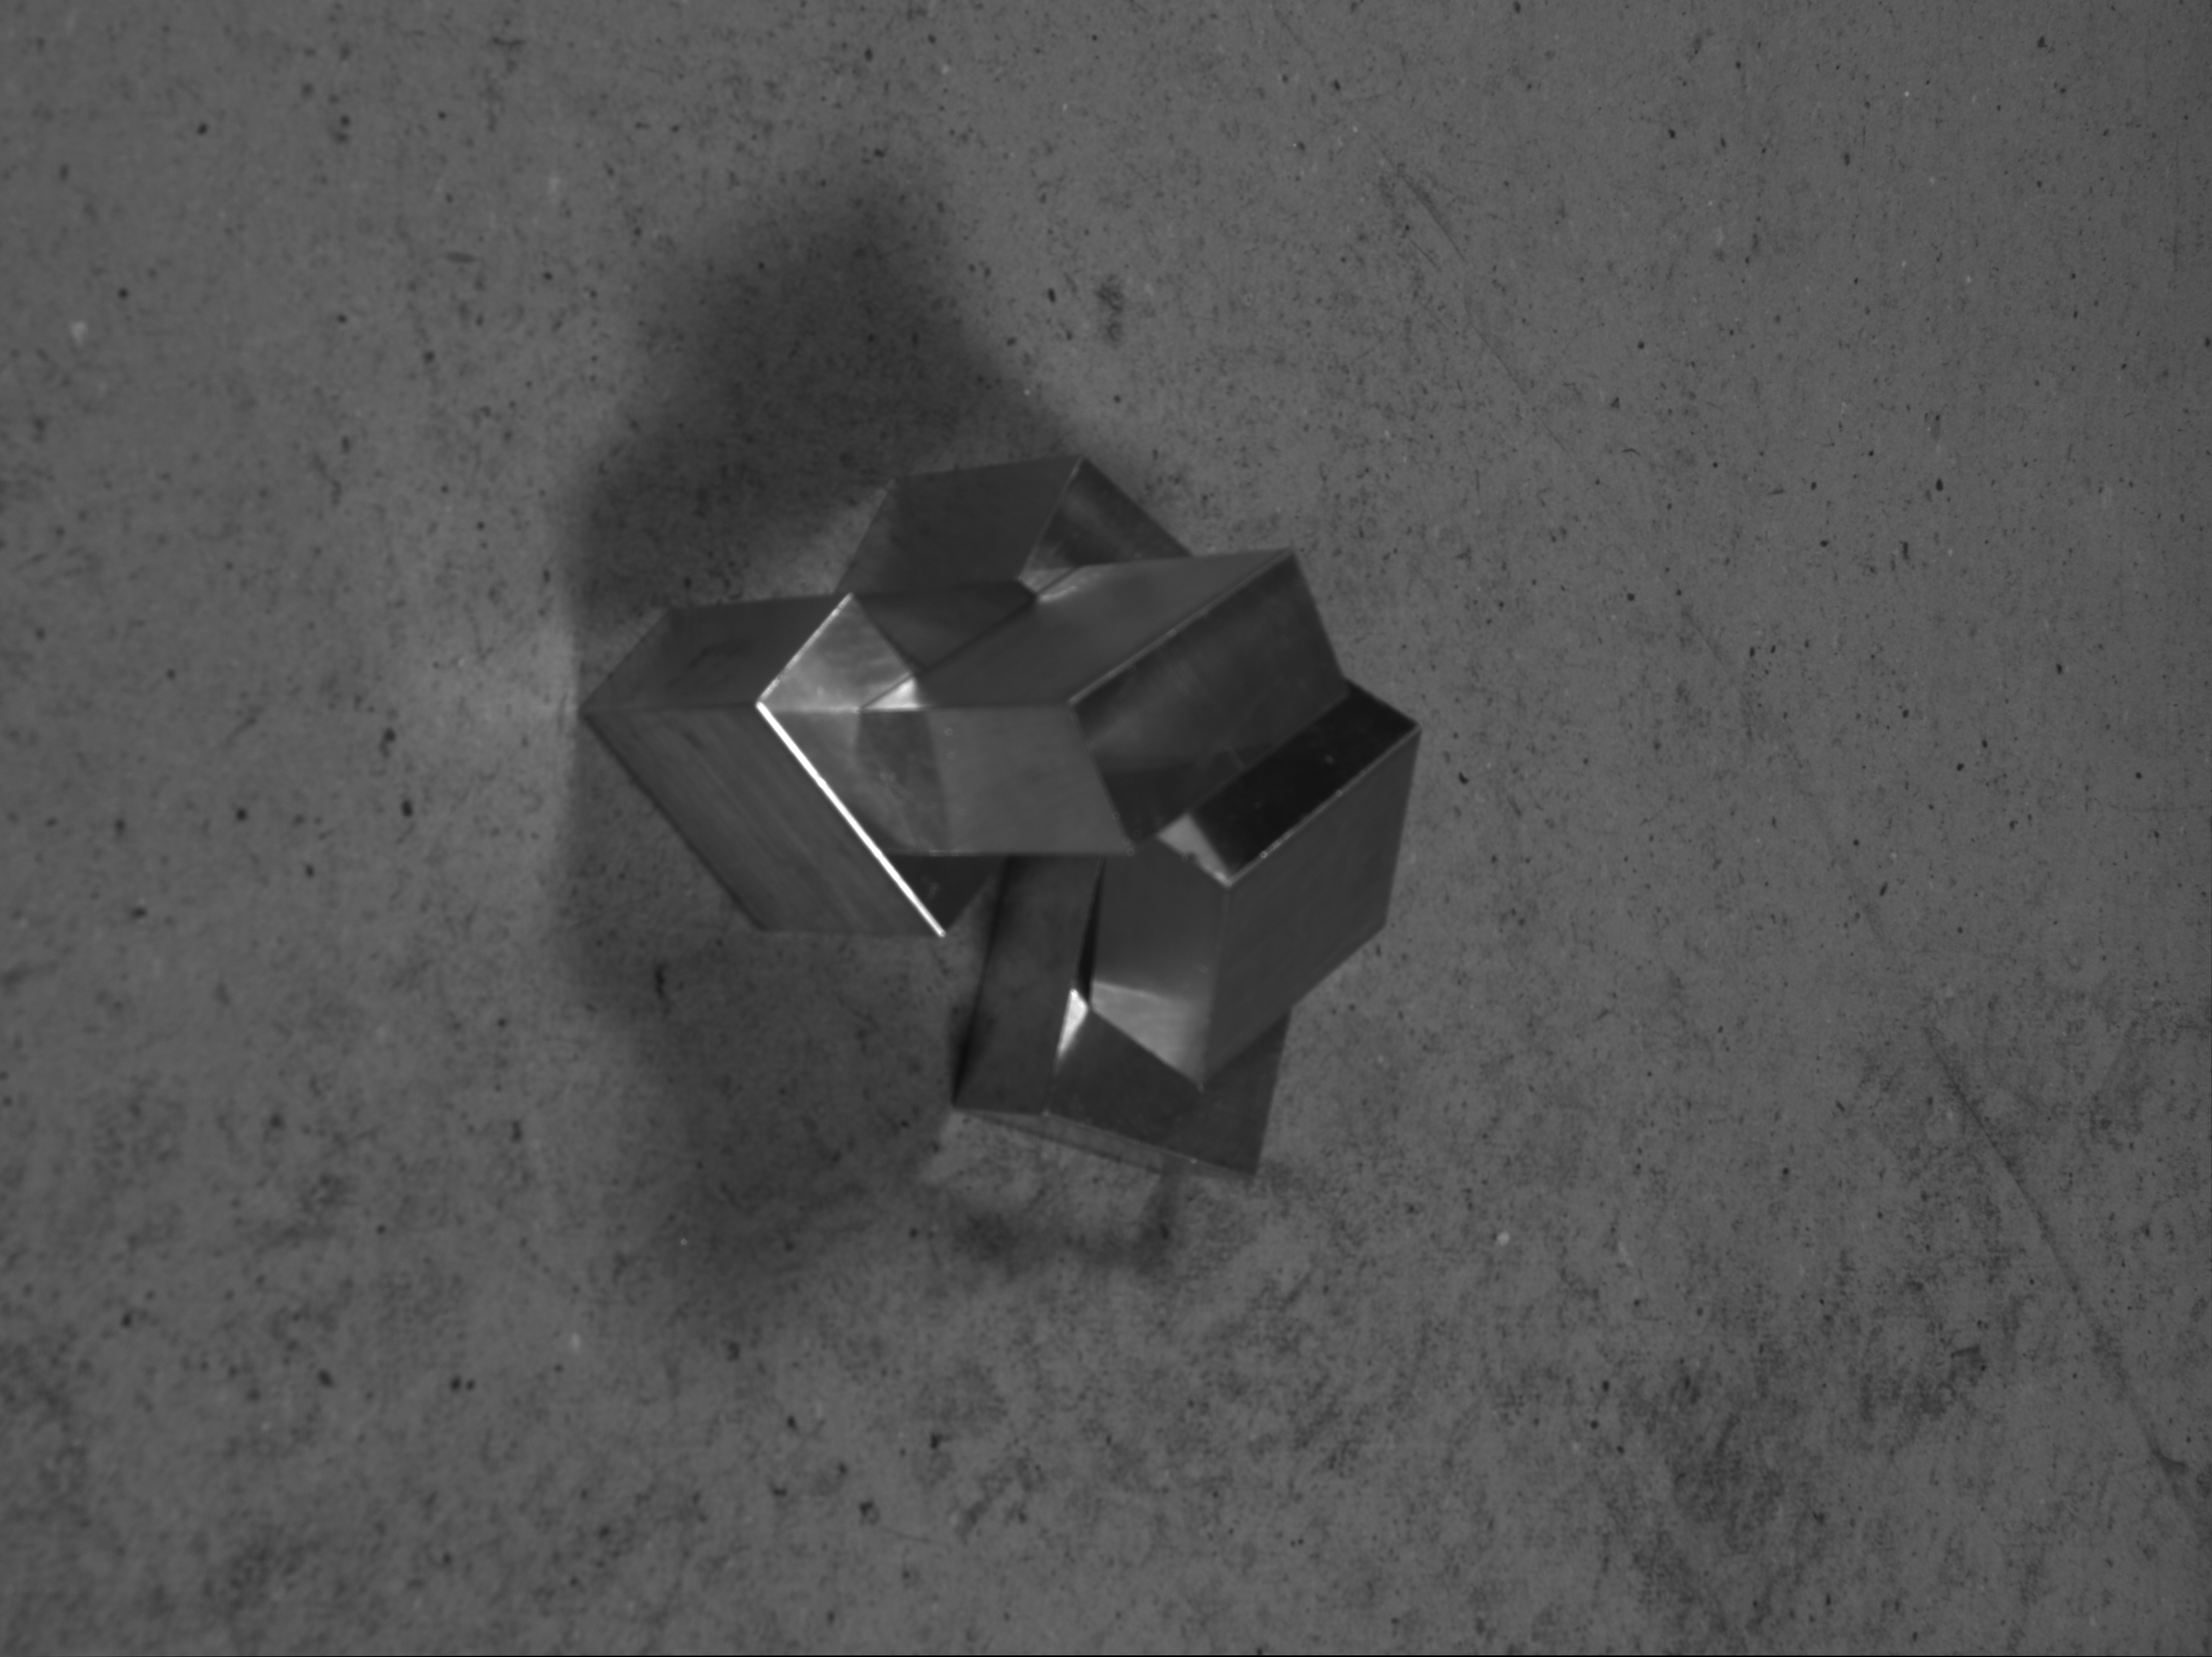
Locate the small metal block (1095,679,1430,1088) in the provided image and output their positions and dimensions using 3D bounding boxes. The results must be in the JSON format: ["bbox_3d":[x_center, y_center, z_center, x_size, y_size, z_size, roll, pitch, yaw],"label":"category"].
[{"bbox_3d":[0.026,0.007,0.611,0.050,0.025,0.050,-38,150,-33],"label":"small metal block"}]

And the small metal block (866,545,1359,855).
[{"bbox_3d":[0.001,-0.019,0.557,0.050,0.050,0.025,-36,112,-34],"label":"small metal block"}]

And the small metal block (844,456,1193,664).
[{"bbox_3d":[-0.008,-0.036,0.615,0.050,0.050,0.025,40,66,-33],"label":"small metal block"}]

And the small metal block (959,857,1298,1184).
[{"bbox_3d":[0.006,0.032,0.643,0.050,0.025,0.050,21,77,-38],"label":"small metal block"}]

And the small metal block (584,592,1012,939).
[{"bbox_3d":[-0.047,-0.009,0.582,0.025,0.050,0.050,-52,120,-27],"label":"small metal block"}]
